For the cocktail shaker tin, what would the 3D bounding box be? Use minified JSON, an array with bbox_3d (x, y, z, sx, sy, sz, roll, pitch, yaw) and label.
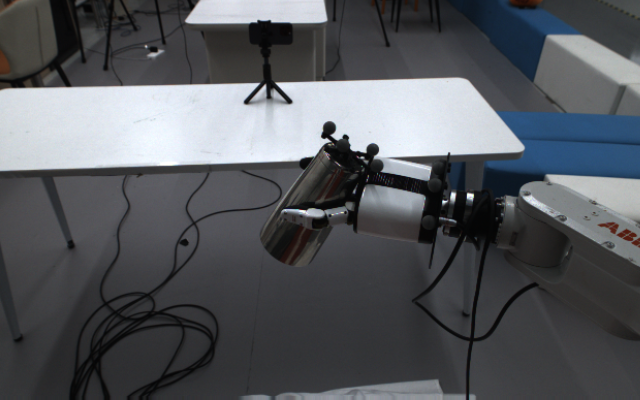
[{"bbox_3d":[-0.007,0.000,0.688,0.093,0.170,0.093,26,32,-18],"label":"cocktail shaker tin"}]
